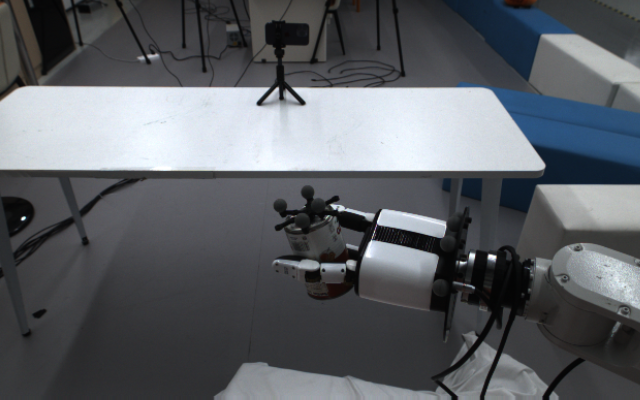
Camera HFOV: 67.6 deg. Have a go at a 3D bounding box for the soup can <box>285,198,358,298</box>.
[{"bbox_3d":[0.003,0.065,0.608,0.067,0.101,0.067,-16,23,7],"label":"soup can"}]
